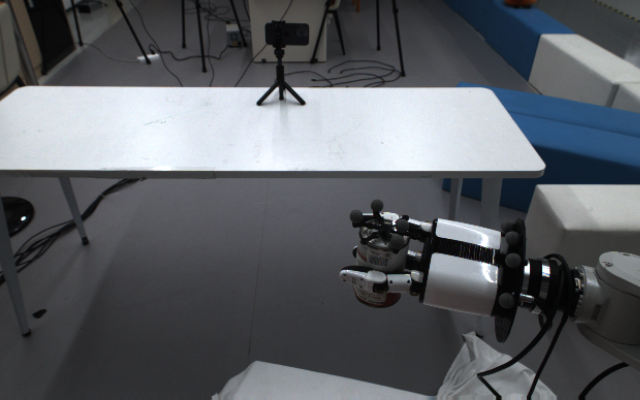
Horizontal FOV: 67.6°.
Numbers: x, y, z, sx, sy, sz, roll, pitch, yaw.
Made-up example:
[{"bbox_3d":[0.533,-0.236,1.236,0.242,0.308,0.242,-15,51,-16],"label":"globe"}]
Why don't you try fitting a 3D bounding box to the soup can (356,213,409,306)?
[{"bbox_3d":[0.083,0.085,0.650,0.067,0.101,0.067,2,32,-1],"label":"soup can"}]
